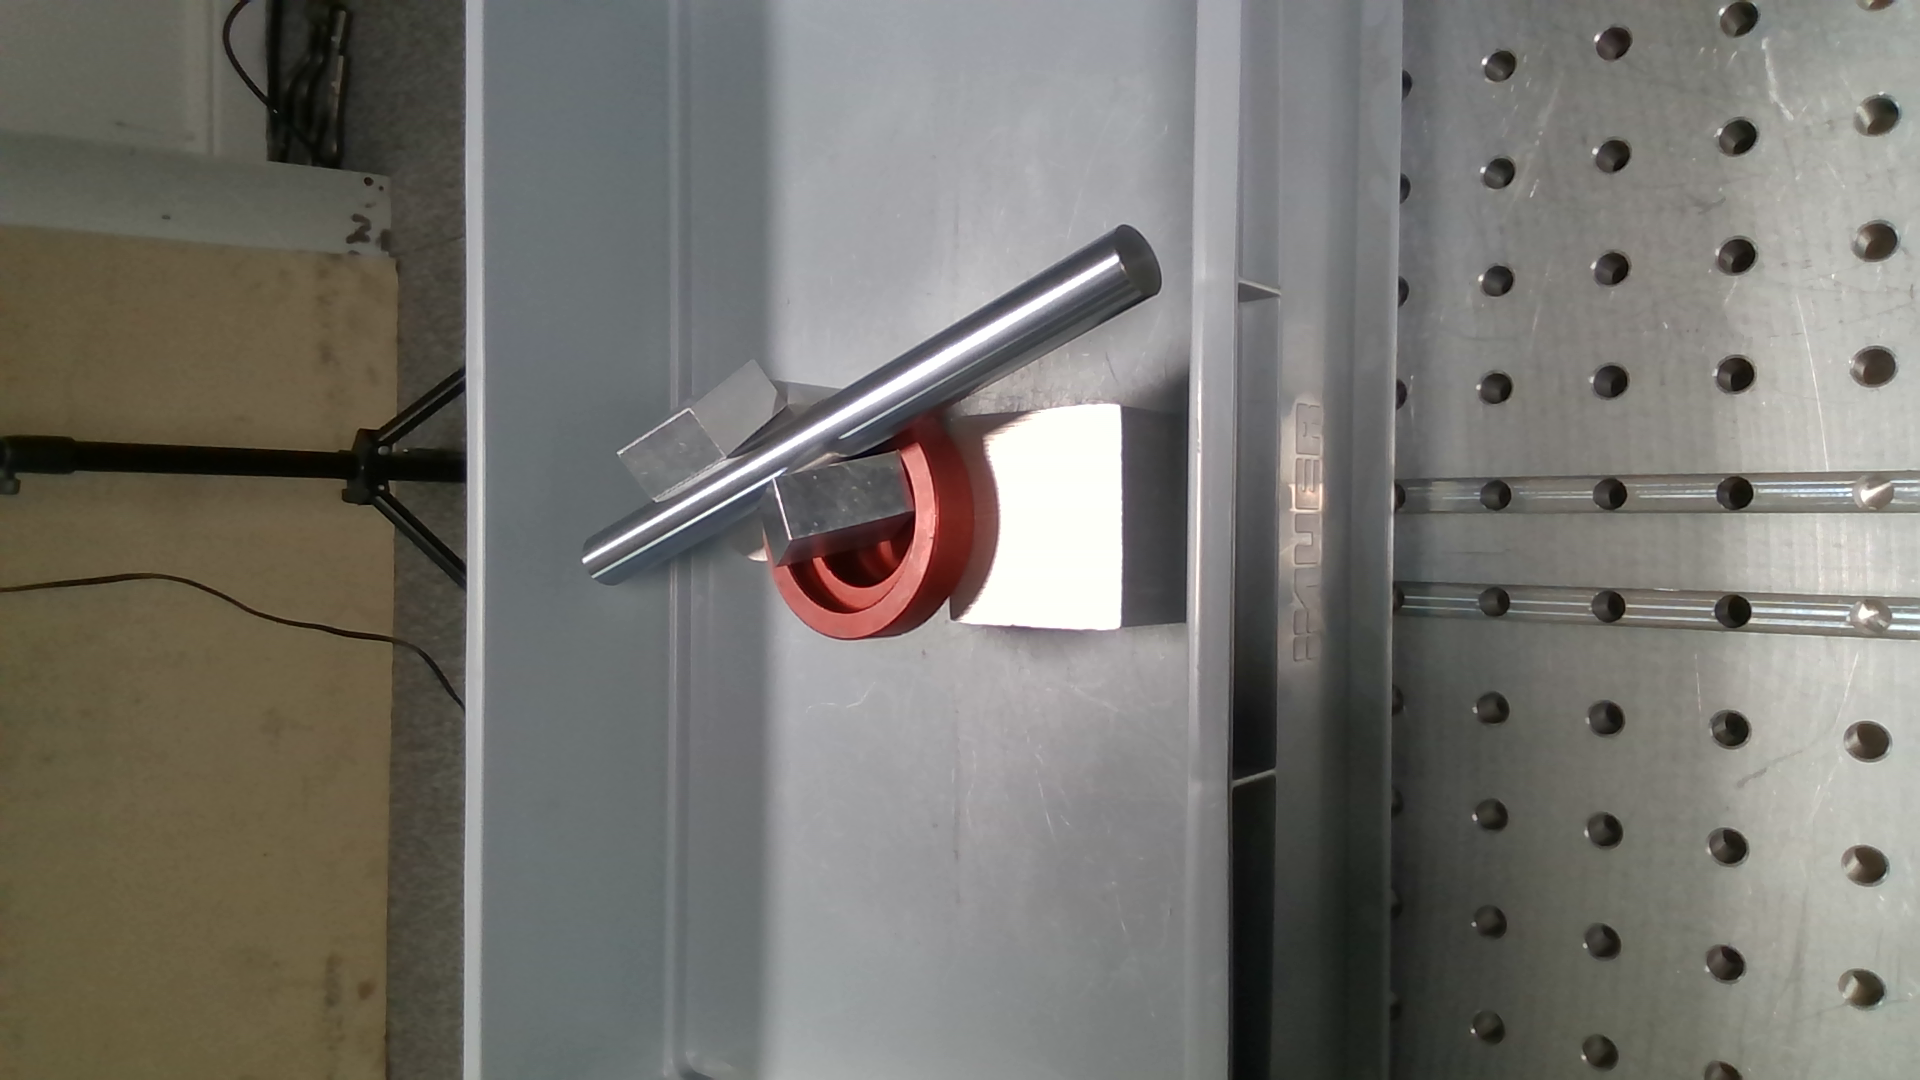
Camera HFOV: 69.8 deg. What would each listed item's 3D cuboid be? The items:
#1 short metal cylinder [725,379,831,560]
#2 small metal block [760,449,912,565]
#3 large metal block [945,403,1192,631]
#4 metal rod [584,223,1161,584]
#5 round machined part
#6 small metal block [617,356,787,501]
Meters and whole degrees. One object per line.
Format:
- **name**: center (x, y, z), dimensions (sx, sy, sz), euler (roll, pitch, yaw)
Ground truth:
- **short metal cylinder**: center (-0.070, -0.031, 0.624), dimensions (0.080, 0.050, 0.080), euler (0, 91, 40)
- **small metal block**: center (-0.049, -0.012, 0.543), dimensions (0.050, 0.050, 0.025), euler (136, 119, -71)
- **large metal block**: center (0.041, -0.008, 0.528), dimensions (0.080, 0.050, 0.080), euler (0, 90, 40)
- **metal rod**: center (-0.051, -0.041, 0.532), dimensions (0.300, 0.025, 0.025), euler (-24, 75, 38)
- **round machined part**: center (-0.032, -0.009, 0.559), dimensions (0.098, 0.042, 0.098), euler (0, 91, 40)
- **small metal block**: center (-0.110, -0.048, 0.588), dimensions (0.050, 0.050, 0.025), euler (-24, 108, 37)
